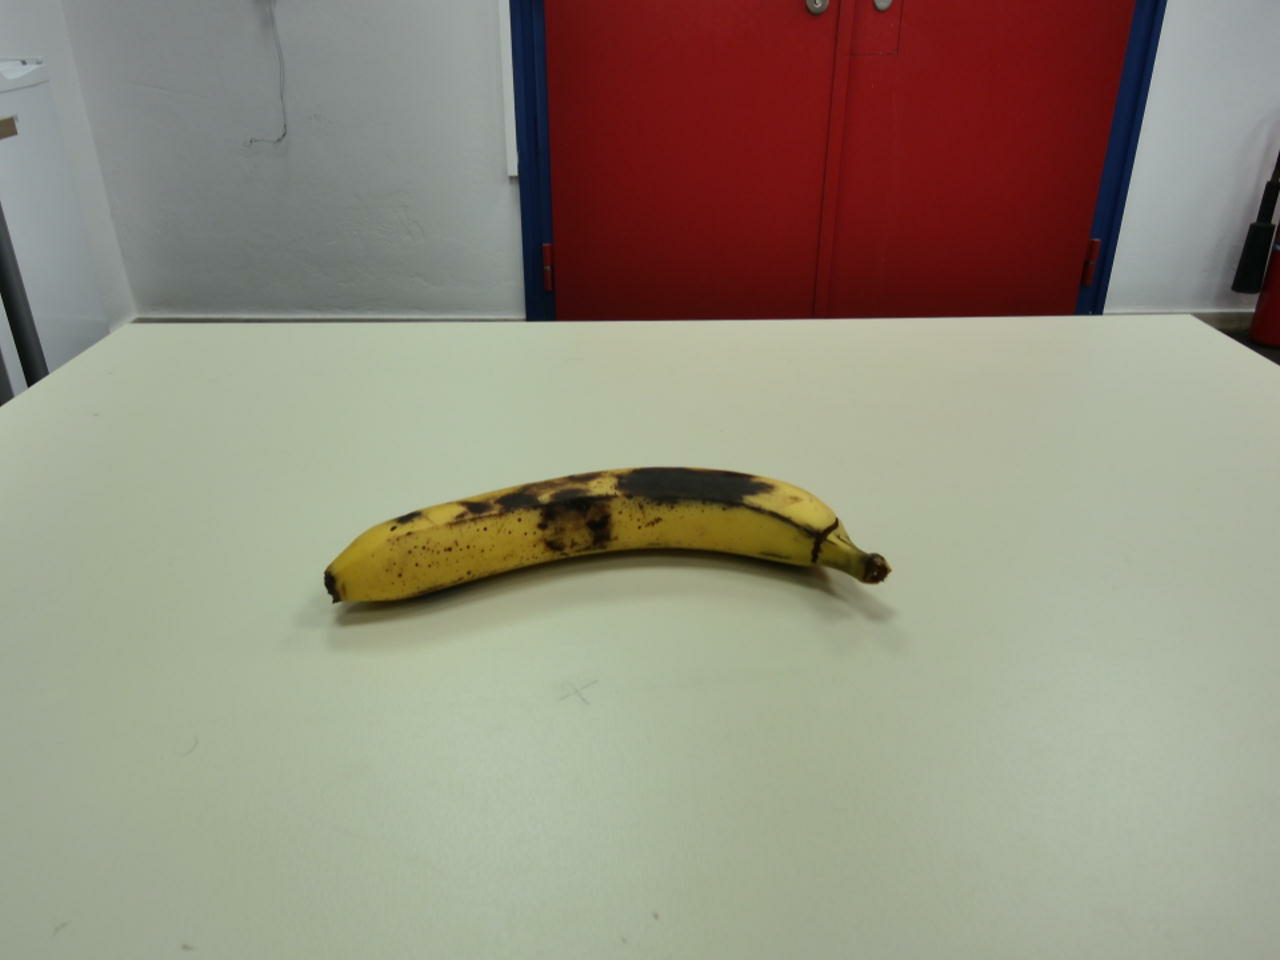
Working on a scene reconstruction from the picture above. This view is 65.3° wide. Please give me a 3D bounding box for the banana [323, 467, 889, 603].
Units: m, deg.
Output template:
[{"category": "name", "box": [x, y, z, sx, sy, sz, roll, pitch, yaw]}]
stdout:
[{"category": "banana", "box": [-0.014, 0.022, 0.425, 0.222, 0.037, 0.084, 0, 24, 0]}]
